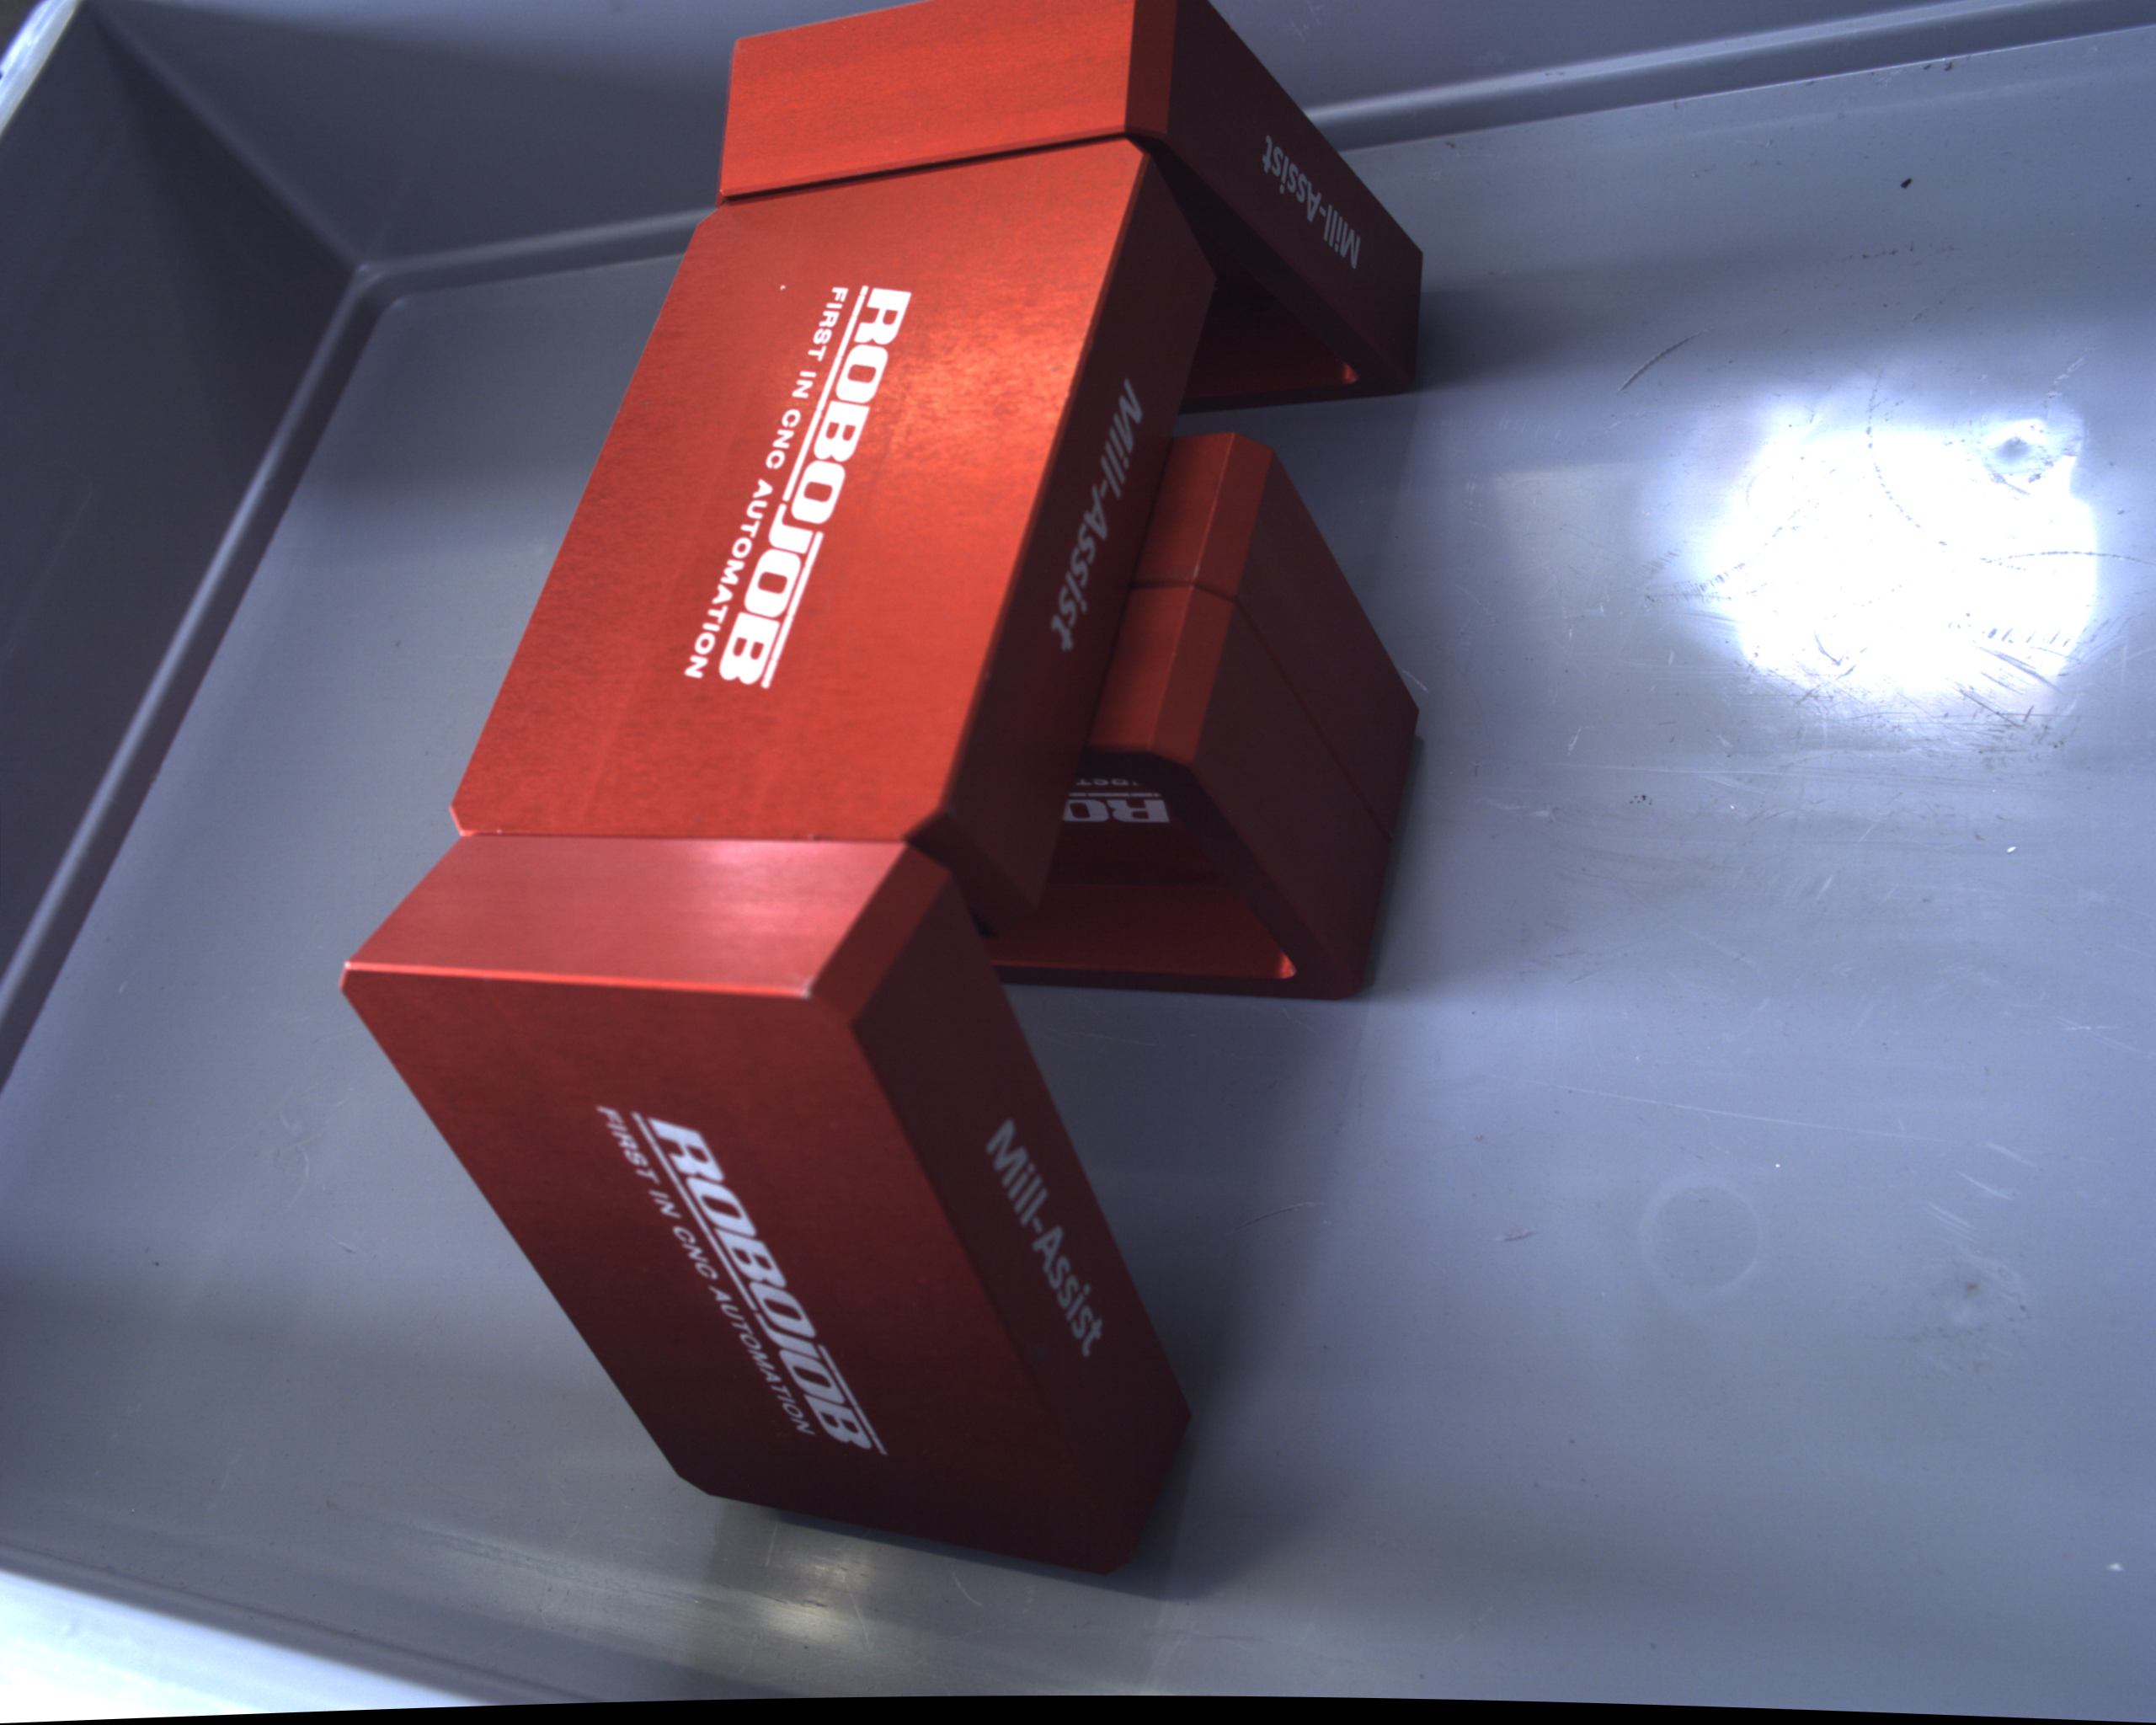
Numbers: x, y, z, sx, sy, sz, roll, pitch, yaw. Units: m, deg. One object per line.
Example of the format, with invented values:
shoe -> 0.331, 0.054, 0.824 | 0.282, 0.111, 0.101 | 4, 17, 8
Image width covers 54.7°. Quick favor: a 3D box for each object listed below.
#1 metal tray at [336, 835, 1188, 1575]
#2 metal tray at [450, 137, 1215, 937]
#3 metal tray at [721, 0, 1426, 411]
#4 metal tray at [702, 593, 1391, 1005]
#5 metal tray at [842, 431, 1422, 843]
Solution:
metal tray -> -0.044, 0.055, 0.324 | 0.090, 0.129, 0.030 | 1, 41, 28
metal tray -> -0.037, -0.054, 0.337 | 0.090, 0.030, 0.130 | 1, 62, 28
metal tray -> 0.004, -0.124, 0.410 | 0.090, 0.131, 0.030 | 1, 83, 28
metal tray -> -0.020, -0.009, 0.379 | 0.130, 0.090, 0.030 | 1, 62, 28
metal tray -> -0.012, -0.037, 0.391 | 0.130, 0.090, 0.030 | 1, 62, 28
